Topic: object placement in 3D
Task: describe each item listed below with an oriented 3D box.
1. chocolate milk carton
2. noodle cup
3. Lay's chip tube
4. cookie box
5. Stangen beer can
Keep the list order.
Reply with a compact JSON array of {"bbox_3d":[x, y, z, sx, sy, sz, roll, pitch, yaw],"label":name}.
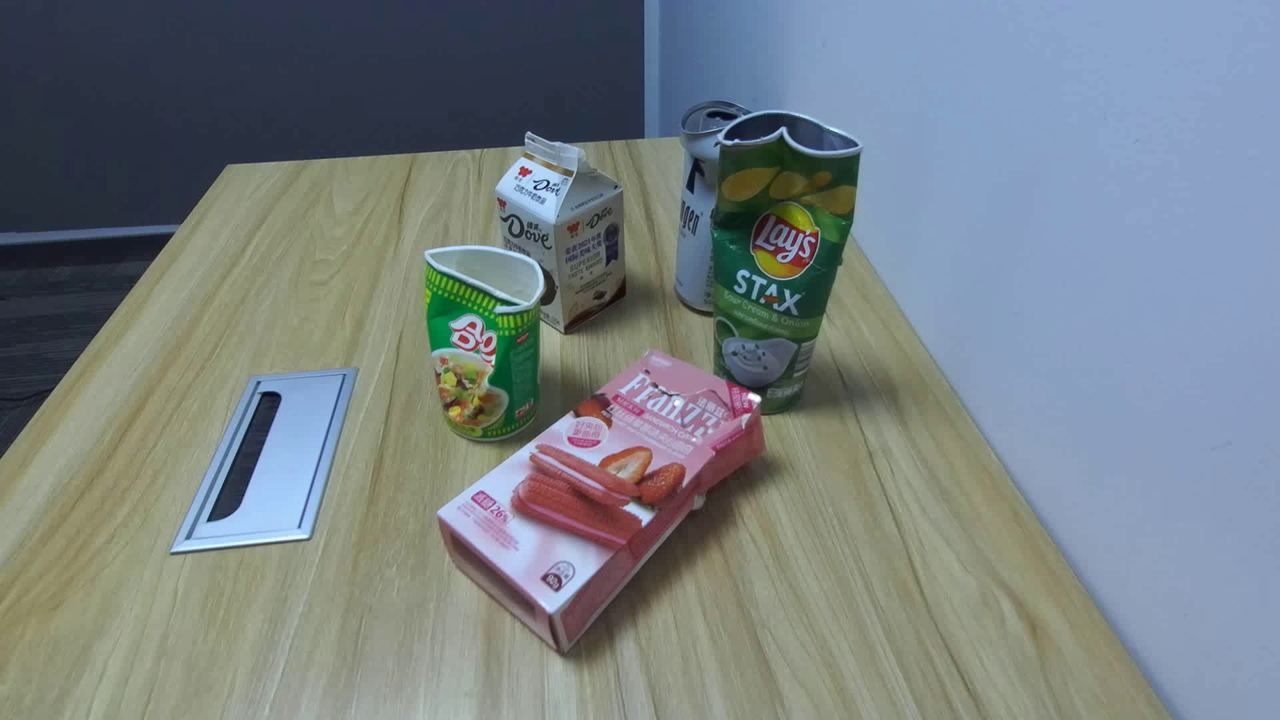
[{"bbox_3d":[-0.062,-0.108,0.565,0.074,0.148,0.075,-35,52,-31],"label":"chocolate milk carton"},{"bbox_3d":[-0.105,-0.008,0.481,0.075,0.122,0.082,-3,32,-16],"label":"noodle cup"},{"bbox_3d":[0.087,-0.058,0.464,0.077,0.201,0.069,-4,40,0],"label":"Lay's chip tube"},{"bbox_3d":[-0.018,0.074,0.429,0.104,0.059,0.186,28,52,33],"label":"cookie box"},{"bbox_3d":[0.066,-0.124,0.594,0.077,0.162,0.066,17,40,22],"label":"Stangen beer can"}]
